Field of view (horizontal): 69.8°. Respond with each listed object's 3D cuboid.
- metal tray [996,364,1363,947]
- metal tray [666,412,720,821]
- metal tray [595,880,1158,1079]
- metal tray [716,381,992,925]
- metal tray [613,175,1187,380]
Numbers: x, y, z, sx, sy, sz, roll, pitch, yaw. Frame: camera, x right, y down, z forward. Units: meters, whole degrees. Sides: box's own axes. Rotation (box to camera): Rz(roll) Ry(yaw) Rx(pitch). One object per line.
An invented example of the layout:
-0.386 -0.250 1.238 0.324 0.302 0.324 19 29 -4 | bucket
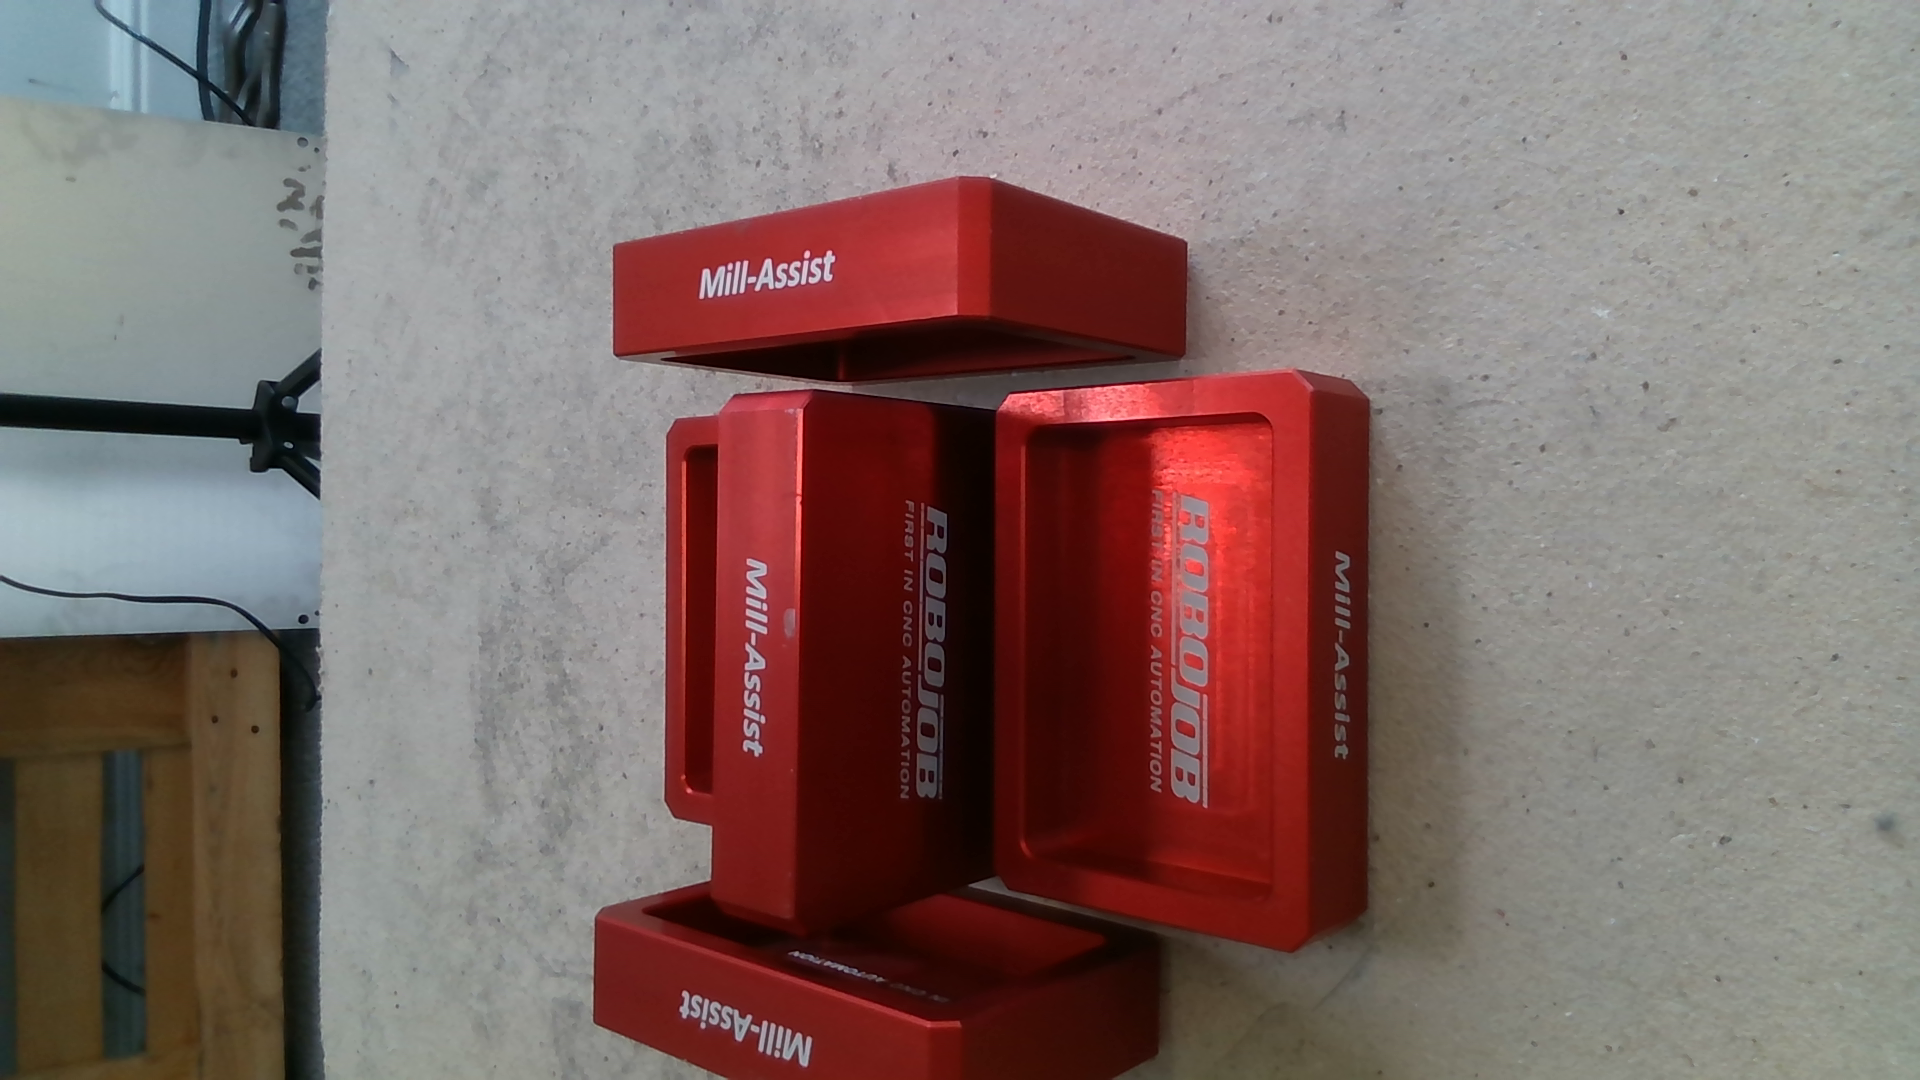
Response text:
0.052 0.026 0.344 0.090 0.030 0.130 1 91 43 | metal tray
-0.052 0.025 0.434 0.090 0.030 0.130 1 91 39 | metal tray
-0.024 0.117 0.370 0.130 0.090 0.030 1 91 40 | metal tray
-0.020 0.027 0.367 0.030 0.090 0.130 2 92 41 | metal tray
-0.018 -0.063 0.363 0.130 0.090 0.030 1 91 41 | metal tray
